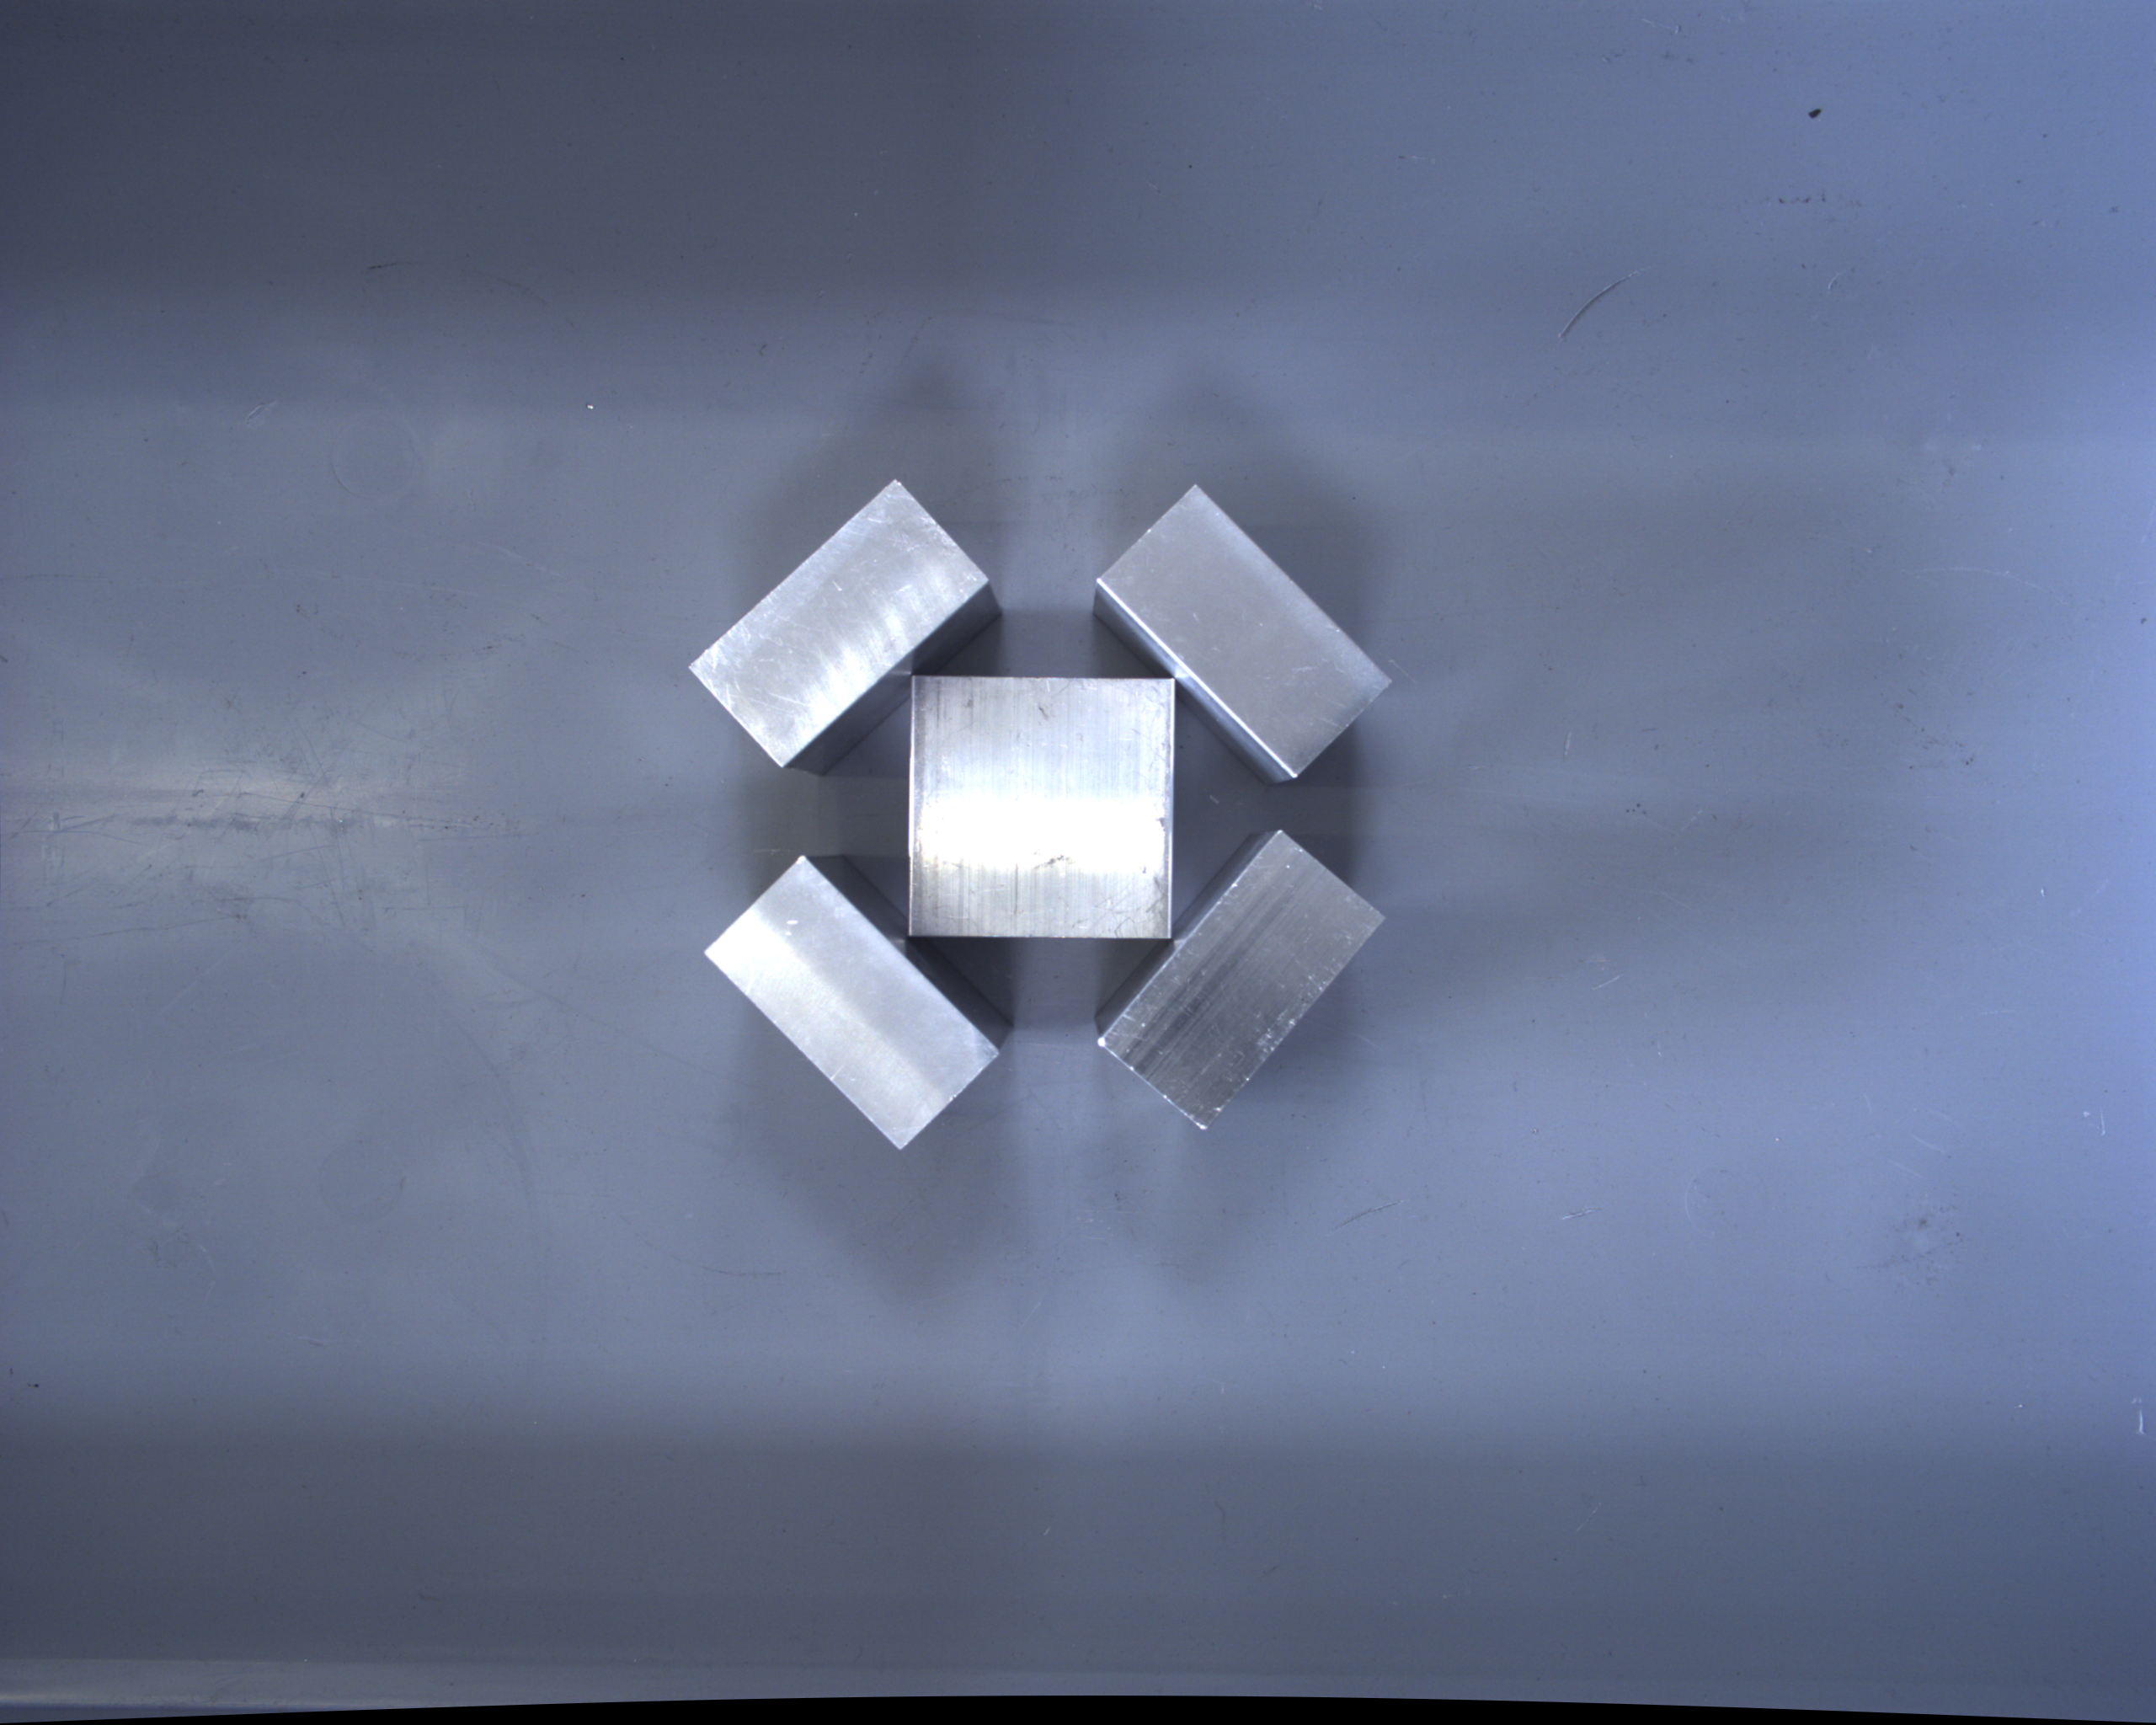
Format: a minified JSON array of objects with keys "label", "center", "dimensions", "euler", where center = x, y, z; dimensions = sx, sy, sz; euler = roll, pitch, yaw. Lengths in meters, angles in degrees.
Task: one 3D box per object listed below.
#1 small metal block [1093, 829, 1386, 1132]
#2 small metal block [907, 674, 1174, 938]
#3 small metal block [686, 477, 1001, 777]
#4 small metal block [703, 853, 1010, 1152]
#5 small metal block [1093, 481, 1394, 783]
[{"label":"small metal block","center":[0.029,0.021,0.397],"dimensions":[0.025,0.050,0.050],"euler":[40,89,-1]},{"label":"small metal block","center":[-0.007,-0.011,0.409],"dimensions":[0.050,0.025,0.050],"euler":[1,90,0]},{"label":"small metal block","center":[-0.042,-0.043,0.396],"dimensions":[0.050,0.050,0.025],"euler":[-42,90,1]},{"label":"small metal block","center":[-0.040,0.025,0.397],"dimensions":[0.025,0.050,0.050],"euler":[-45,90,1]},{"label":"small metal block","center":[0.029,-0.042,0.397],"dimensions":[0.025,0.050,0.050],"euler":[-45,91,-1]}]
